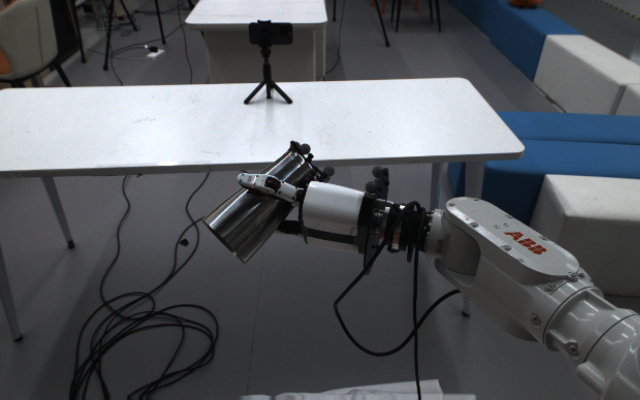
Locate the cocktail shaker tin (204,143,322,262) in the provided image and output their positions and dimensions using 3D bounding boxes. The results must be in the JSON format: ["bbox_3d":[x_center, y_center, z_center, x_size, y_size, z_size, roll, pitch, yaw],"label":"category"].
[{"bbox_3d":[-0.085,0.001,0.737,0.170,0.093,0.093,-43,50,-14],"label":"cocktail shaker tin"}]
